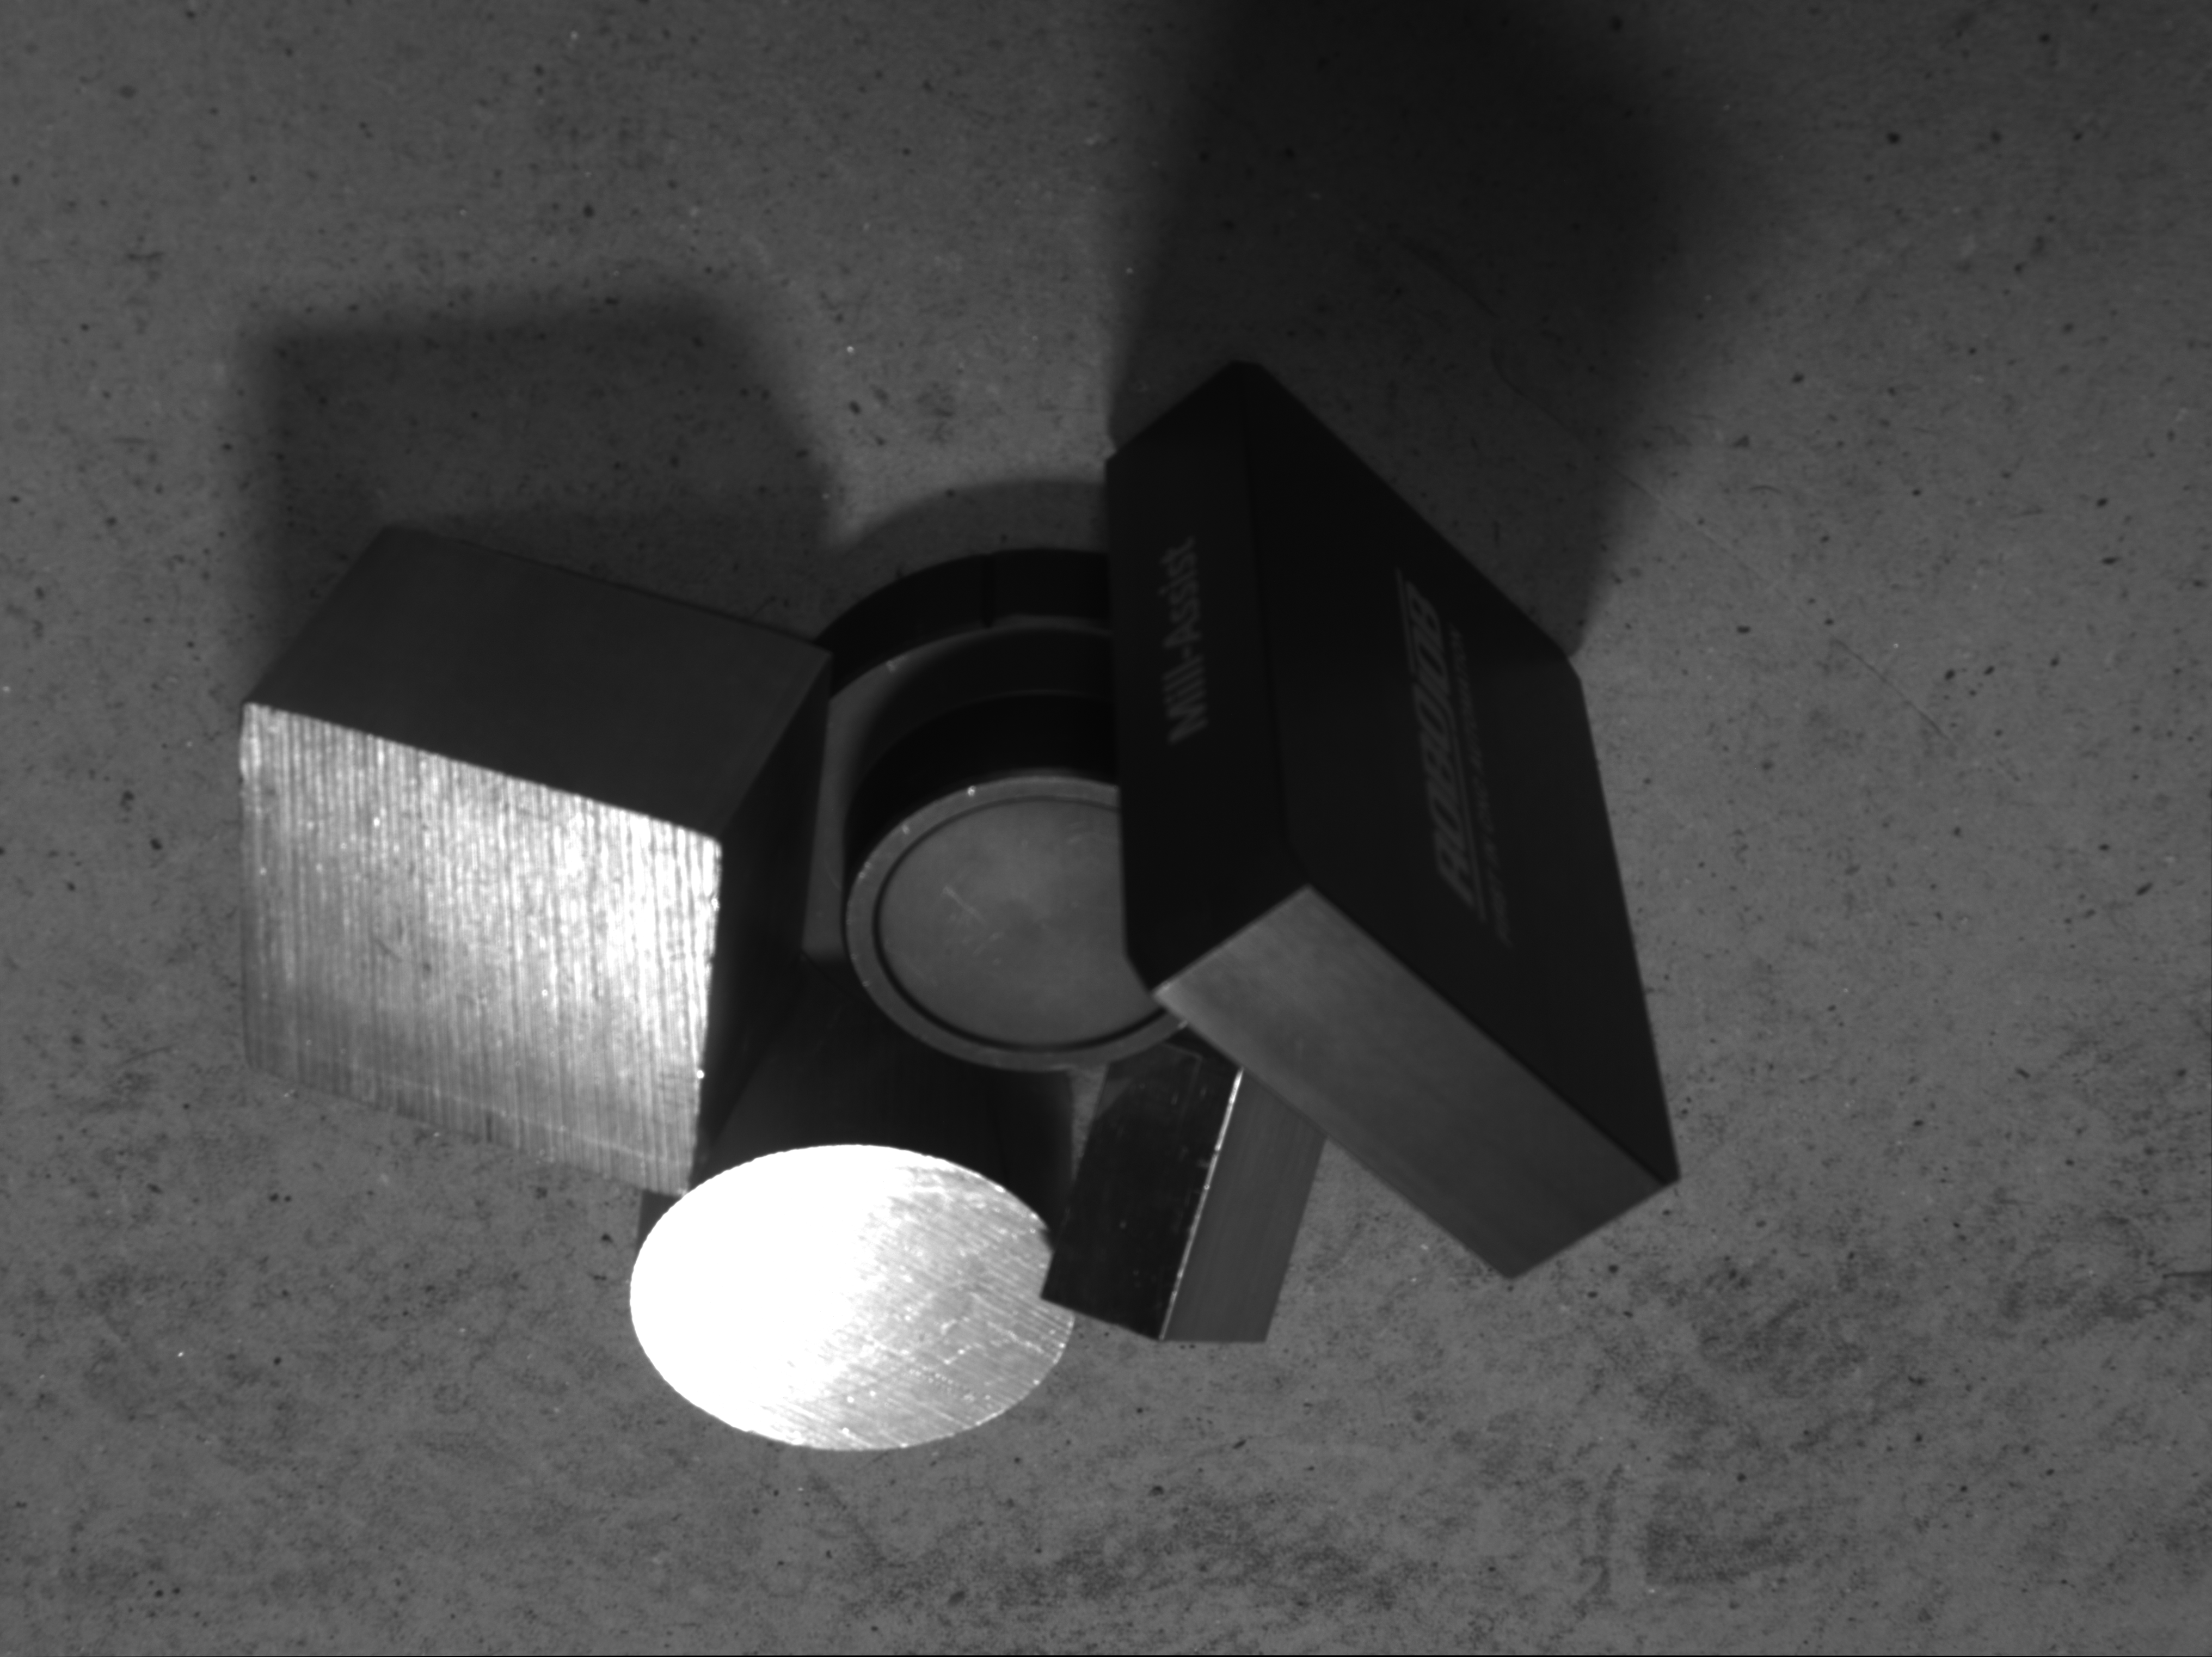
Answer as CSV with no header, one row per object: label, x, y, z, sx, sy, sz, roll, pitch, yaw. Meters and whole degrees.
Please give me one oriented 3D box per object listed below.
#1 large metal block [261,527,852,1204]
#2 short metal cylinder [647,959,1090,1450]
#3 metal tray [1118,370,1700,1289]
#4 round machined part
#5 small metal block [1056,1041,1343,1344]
large metal block,-0.092,0.006,0.608,0.080,0.050,0.080,16,130,7
short metal cylinder,-0.043,0.070,0.680,0.080,0.050,0.080,-1,130,-1
metal tray,0.045,-0.003,0.568,0.030,0.130,0.090,-36,122,25
round machined part,-0.008,0.003,0.631,0.098,0.042,0.098,-1,130,-1
small metal block,0.019,0.065,0.664,0.025,0.050,0.050,16,179,25
